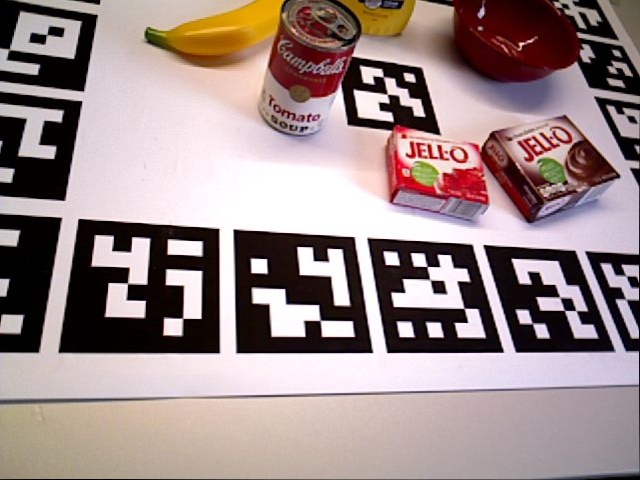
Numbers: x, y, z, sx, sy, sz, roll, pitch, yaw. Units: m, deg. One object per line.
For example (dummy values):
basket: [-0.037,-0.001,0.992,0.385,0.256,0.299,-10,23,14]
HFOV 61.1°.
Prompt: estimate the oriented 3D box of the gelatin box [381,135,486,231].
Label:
gelatin box: [0.101,-0.052,0.492,0.088,0.031,0.072,9,60,-12]

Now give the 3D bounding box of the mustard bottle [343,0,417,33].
mustard bottle: [0.075,-0.302,0.526,0.095,0.196,0.057,4,55,-17]

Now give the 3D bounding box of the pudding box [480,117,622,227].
pudding box: [0.229,-0.071,0.540,0.111,0.039,0.090,-20,72,-27]

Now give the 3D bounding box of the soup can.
soup can: [-0.021,-0.153,0.460,0.067,0.104,0.067,10,54,-15]

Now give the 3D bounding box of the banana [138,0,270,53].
banana: [-0.084,-0.228,0.538,0.074,0.040,0.193,32,54,16]

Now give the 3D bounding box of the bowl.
bowl: [0.216,-0.233,0.631,0.160,0.056,0.159,7,56,-12]
